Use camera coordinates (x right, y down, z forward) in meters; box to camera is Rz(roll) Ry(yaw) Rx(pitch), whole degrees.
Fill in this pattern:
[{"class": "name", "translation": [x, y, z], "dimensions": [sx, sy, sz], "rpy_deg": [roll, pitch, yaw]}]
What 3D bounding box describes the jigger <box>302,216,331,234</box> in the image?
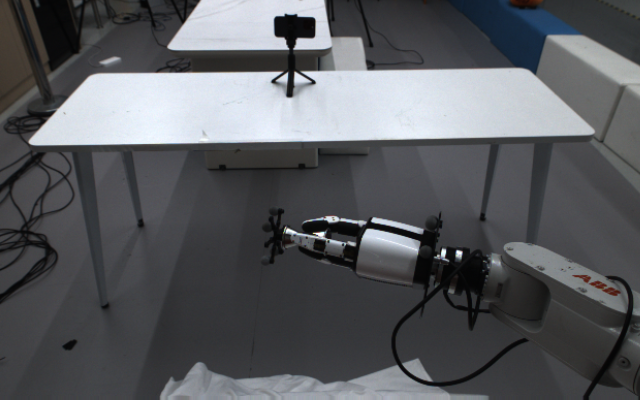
[{"class": "jigger", "translation": [-0.014, 0.058, 0.754], "dimensions": [0.071, 0.043, 0.043], "rpy_deg": [5, 34, 15]}]
